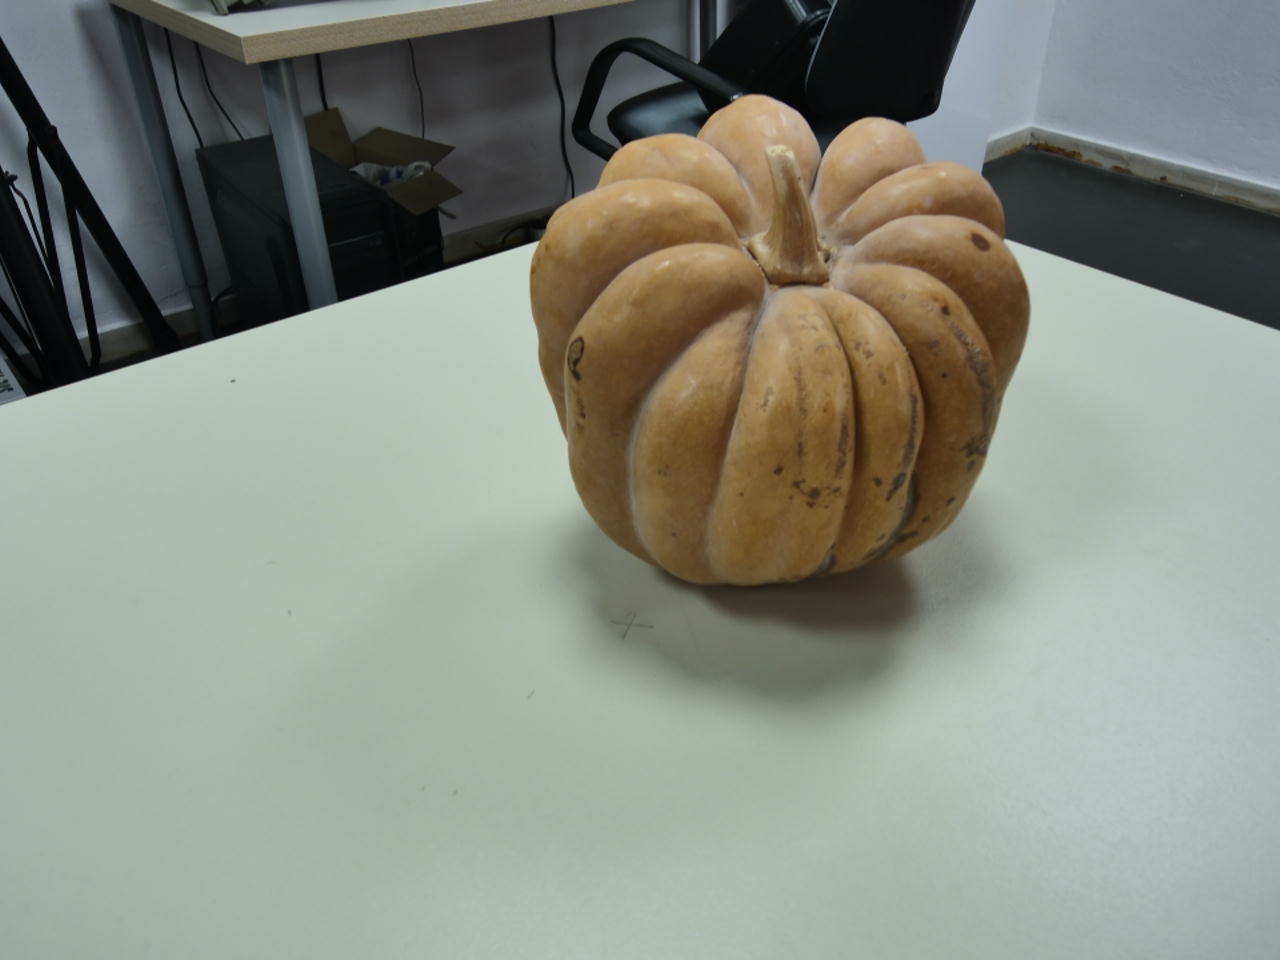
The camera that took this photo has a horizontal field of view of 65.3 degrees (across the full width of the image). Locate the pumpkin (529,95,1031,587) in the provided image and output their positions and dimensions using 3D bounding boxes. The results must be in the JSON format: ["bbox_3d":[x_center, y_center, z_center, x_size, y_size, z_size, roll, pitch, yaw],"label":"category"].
[{"bbox_3d":[0.053,-0.052,0.409,0.199,0.177,0.198,-1,35,1],"label":"pumpkin"}]
